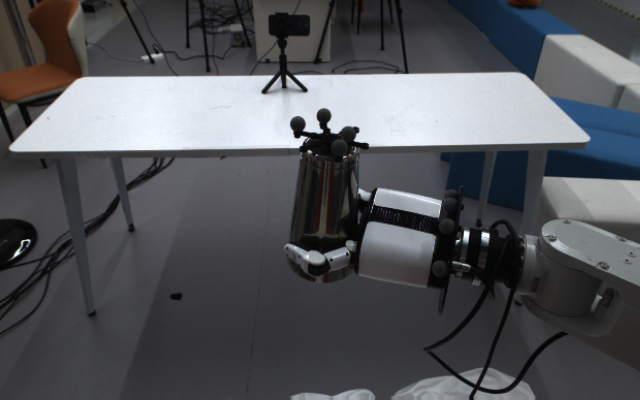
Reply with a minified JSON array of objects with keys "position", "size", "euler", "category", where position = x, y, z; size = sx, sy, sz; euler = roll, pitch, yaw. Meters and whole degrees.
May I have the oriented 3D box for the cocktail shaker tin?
[{"position":[0.009,0.008,0.598],"size":[0.093,0.170,0.093],"euler":[3,34,-2],"category":"cocktail shaker tin"}]
